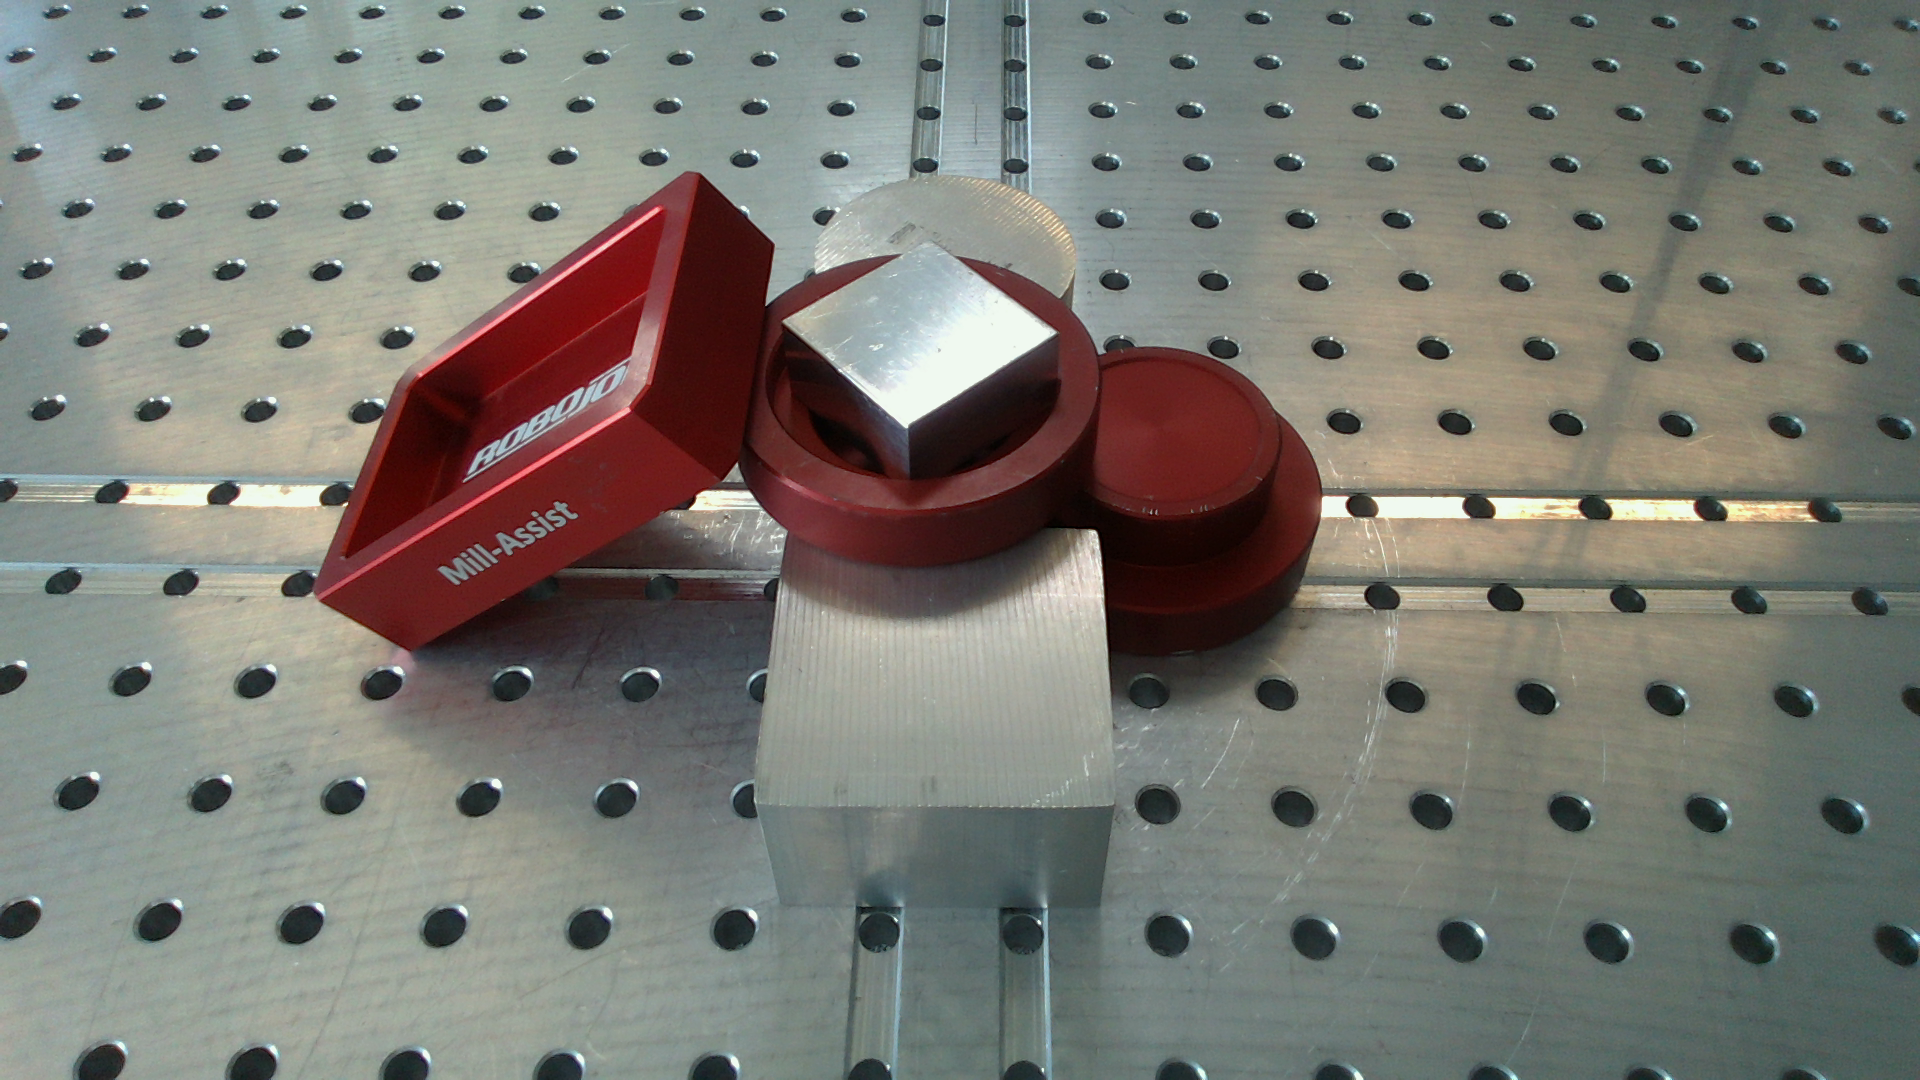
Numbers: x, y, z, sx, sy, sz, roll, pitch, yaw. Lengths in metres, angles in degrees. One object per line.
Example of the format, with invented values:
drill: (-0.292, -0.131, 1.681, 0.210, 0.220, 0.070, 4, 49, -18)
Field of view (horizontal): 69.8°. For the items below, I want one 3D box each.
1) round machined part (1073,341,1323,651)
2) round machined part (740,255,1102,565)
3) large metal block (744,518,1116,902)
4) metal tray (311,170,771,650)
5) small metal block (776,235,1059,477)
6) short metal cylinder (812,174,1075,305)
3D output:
round machined part: (0.056, -0.019, 0.398, 0.098, 0.042, 0.098, 0, 50, 0)
round machined part: (-0.012, -0.031, 0.371, 0.098, 0.042, 0.098, 0, 50, 0)
large metal block: (-0.006, 0.041, 0.340, 0.080, 0.050, 0.080, 1, 50, 1)
metal tray: (-0.113, -0.034, 0.373, 0.130, 0.030, 0.090, -25, 43, 28)
small metal block: (-0.011, -0.046, 0.353, 0.050, 0.025, 0.050, -34, 58, -25)
short metal cylinder: (-0.005, -0.072, 0.438, 0.080, 0.050, 0.080, 0, 50, 0)
